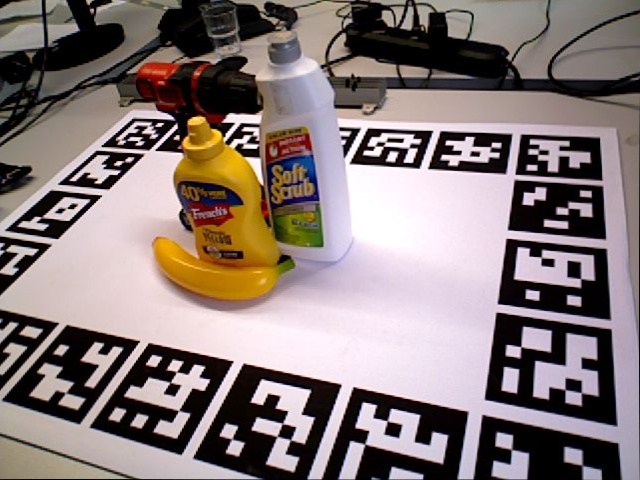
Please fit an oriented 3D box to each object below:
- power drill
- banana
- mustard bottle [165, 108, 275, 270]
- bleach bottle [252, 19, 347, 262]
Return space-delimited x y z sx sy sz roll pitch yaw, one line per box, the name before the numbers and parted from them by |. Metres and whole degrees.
power drill | -0.128 -0.114 0.618 0.185 0.190 0.056 17 47 27
banana | -0.127 0.034 0.616 0.198 0.039 0.072 9 46 26
mustard bottle | -0.111 -0.047 0.571 0.096 0.195 0.057 8 44 19
bleach bottle | -0.030 -0.096 0.568 0.103 0.255 0.066 9 39 22
